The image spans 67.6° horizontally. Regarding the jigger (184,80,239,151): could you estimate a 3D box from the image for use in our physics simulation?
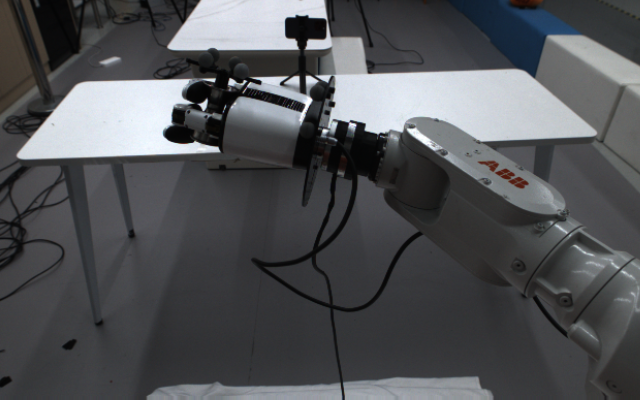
[{"bbox_3d":[-0.129,-0.104,0.581,0.043,0.071,0.043,17,17,-5],"label":"jigger"}]
